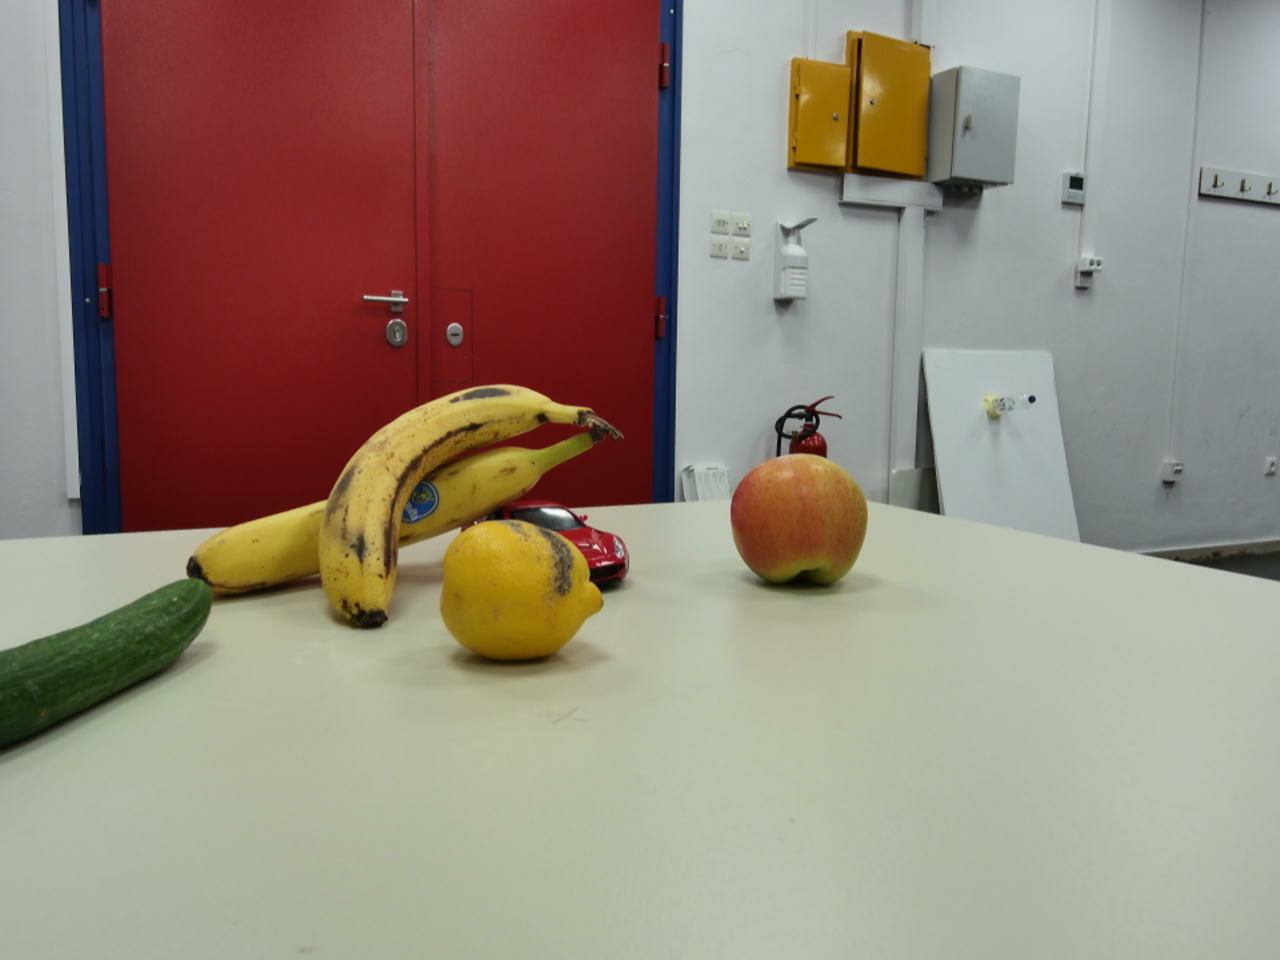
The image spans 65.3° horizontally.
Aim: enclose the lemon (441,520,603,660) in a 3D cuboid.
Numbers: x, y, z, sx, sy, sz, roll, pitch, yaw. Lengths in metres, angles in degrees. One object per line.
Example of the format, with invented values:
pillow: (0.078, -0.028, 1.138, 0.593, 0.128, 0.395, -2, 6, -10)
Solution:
lemon: (-0.052, 0.045, 0.408, 0.061, 0.056, 0.058, -3, 5, -34)
